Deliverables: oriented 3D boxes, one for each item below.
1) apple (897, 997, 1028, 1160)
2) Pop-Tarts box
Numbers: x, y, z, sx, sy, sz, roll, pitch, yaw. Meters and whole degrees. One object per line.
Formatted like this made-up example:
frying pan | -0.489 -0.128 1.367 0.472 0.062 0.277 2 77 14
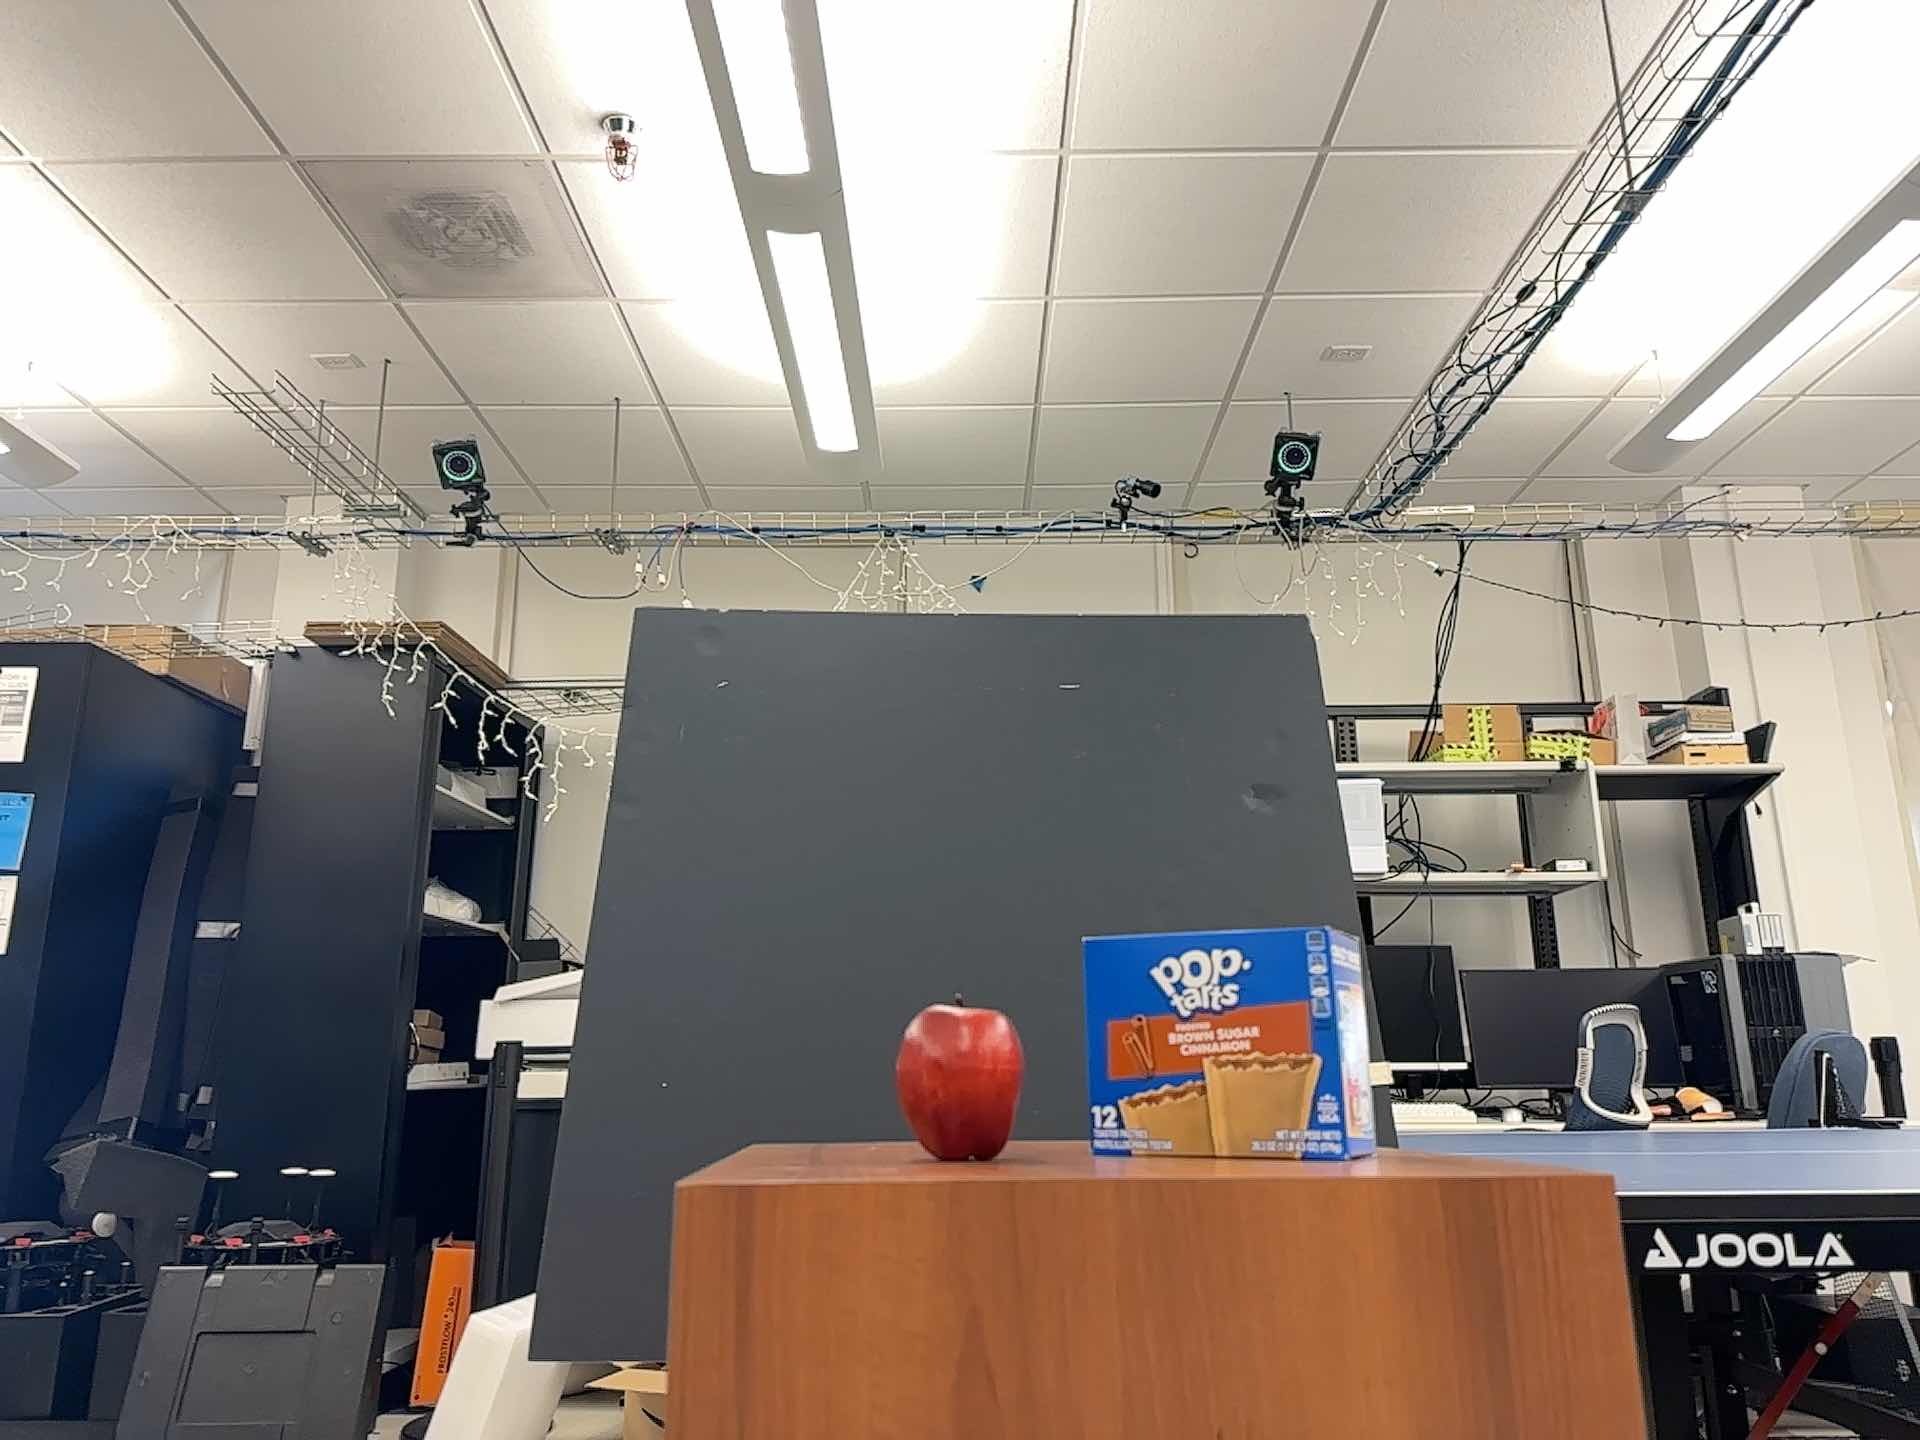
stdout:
apple | 0.001 0.214 0.804 0.079 0.093 0.079 1 -14 0
Pop-Tarts box | 0.177 0.210 0.869 0.161 0.135 0.075 -8 -18 28
